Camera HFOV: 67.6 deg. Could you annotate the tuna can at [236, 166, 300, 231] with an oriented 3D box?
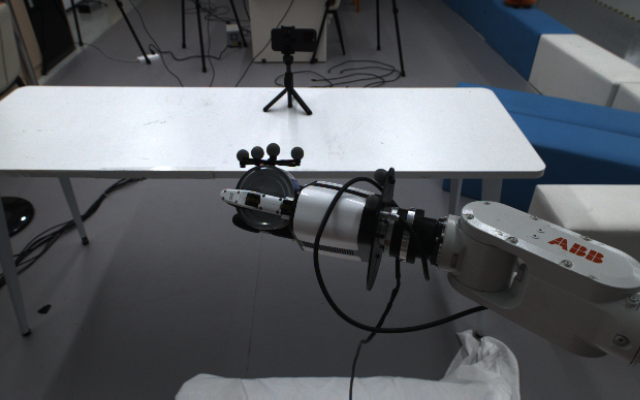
[{"bbox_3d":[-0.068,-0.002,0.648,0.085,0.085,0.034,15,1,18],"label":"tuna can"}]
